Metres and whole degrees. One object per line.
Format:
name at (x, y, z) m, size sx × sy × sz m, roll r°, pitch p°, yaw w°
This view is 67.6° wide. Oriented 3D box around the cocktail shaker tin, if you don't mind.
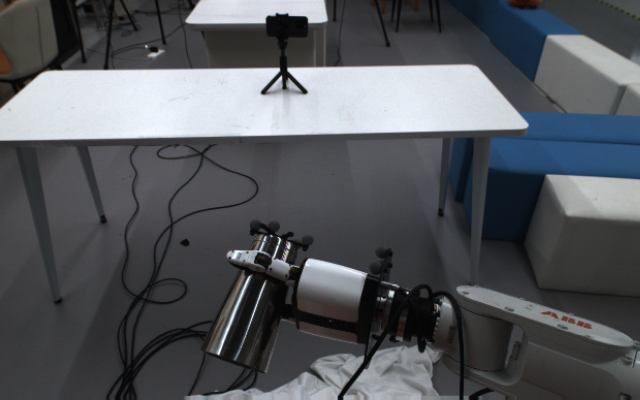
cocktail shaker tin at (-0.085, 0.133, 0.659) m, size 0.093 × 0.093 × 0.170 m, roll 13°, pitch 65°, yaw 15°
